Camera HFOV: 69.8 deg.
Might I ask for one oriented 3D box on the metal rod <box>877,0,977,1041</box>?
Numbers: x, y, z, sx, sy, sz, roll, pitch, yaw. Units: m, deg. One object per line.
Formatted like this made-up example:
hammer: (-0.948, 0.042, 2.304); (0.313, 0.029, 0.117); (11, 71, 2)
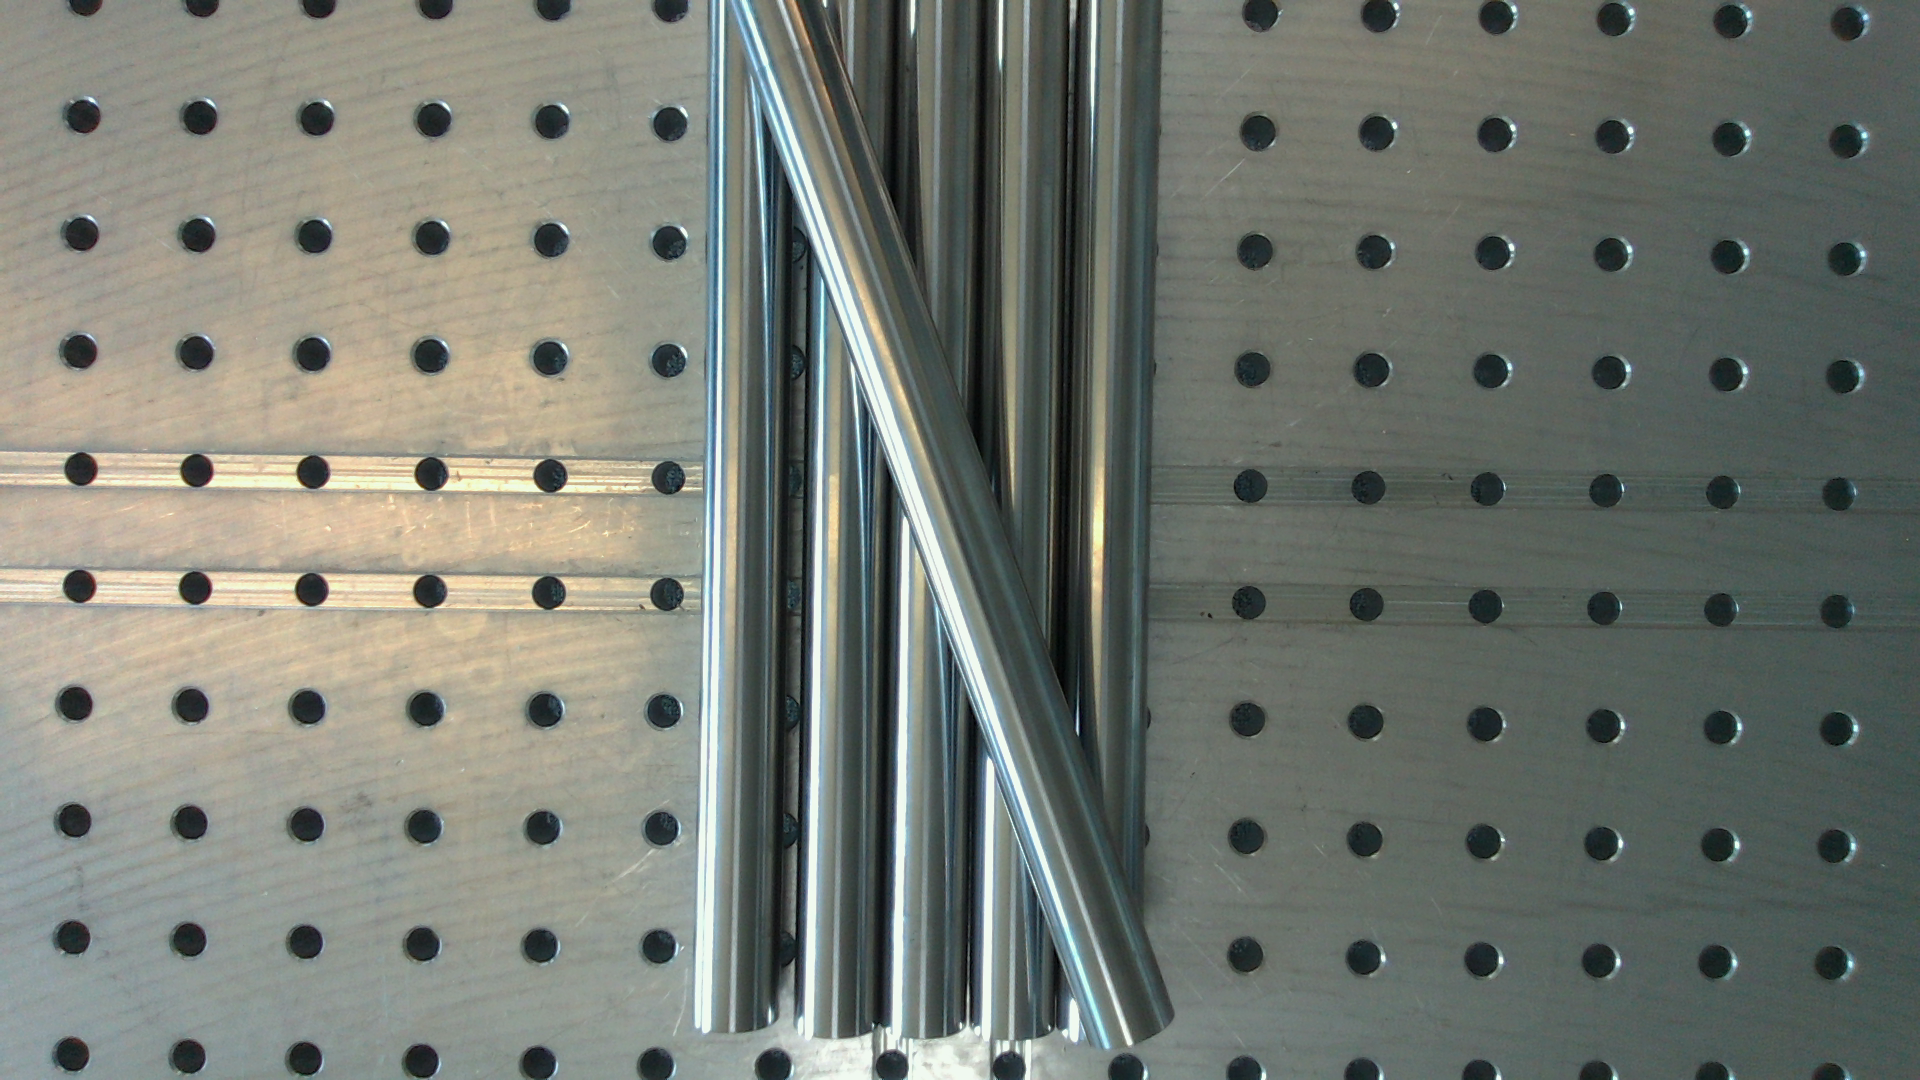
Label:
metal rod: (-0.010, -0.010, 0.397); (0.025, 0.025, 0.300); (1, 90, 0)

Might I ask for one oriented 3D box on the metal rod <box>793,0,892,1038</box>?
metal rod: (-0.034, -0.011, 0.396); (0.025, 0.025, 0.300); (1, 90, 0)

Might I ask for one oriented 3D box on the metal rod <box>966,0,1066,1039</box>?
metal rod: (0.016, -0.010, 0.398); (0.025, 0.025, 0.300); (1, 90, 0)

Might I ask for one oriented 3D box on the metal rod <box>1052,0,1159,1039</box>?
metal rod: (0.042, -0.009, 0.398); (0.025, 0.025, 0.300); (1, 90, 0)

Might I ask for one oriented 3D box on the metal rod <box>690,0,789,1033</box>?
metal rod: (-0.063, -0.012, 0.396); (0.025, 0.025, 0.300); (1, 90, 0)

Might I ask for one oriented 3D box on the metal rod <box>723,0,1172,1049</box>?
metal rod: (-0.004, -0.010, 0.372); (0.025, 0.025, 0.300); (-19, 90, 0)
